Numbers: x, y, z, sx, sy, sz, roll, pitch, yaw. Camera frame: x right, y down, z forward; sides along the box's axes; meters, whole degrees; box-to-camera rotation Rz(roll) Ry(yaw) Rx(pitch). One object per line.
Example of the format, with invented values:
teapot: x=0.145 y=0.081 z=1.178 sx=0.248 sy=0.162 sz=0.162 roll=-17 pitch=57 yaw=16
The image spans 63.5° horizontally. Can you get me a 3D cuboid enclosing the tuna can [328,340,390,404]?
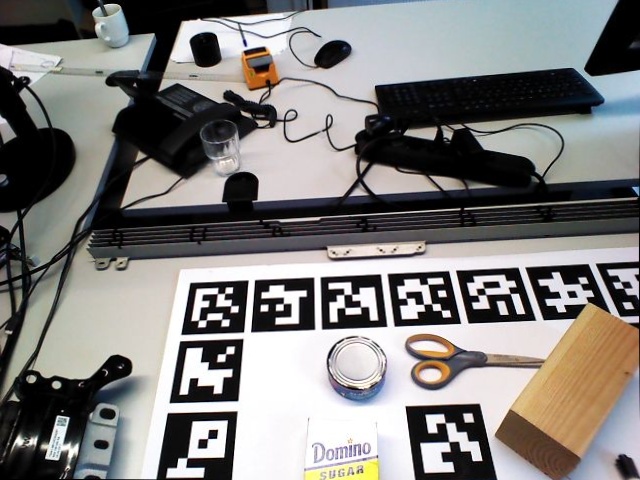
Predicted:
tuna can: x=0.056 y=0.188 z=0.737 sx=0.086 sy=0.034 sz=0.085 roll=-4 pitch=51 yaw=4

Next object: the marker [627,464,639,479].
marker: x=0.383 y=0.322 z=0.597 sx=0.020 sy=0.020 sz=0.120 roll=-2 pitch=53 yaw=5

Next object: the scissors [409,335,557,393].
scissors: x=0.230 y=0.181 z=0.737 sx=0.203 sy=0.016 sz=0.087 roll=2 pitch=51 yaw=11

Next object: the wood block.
wood block: x=0.343 y=0.202 z=0.662 sx=0.090 sy=0.091 sz=0.205 roll=35 pitch=61 yaw=31

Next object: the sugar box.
sugar box: x=0.028 y=0.318 z=0.630 sx=0.093 sy=0.045 sz=0.175 roll=1 pitch=51 yaw=7
